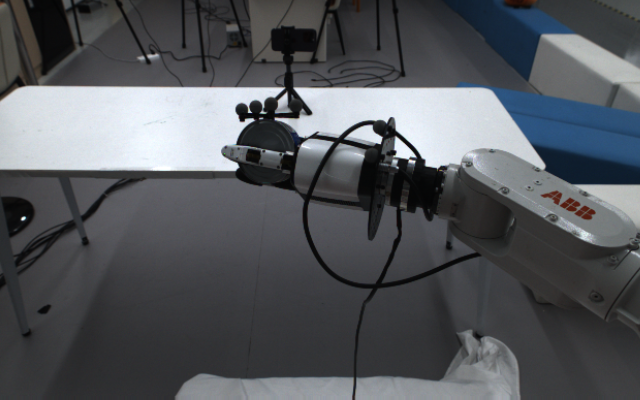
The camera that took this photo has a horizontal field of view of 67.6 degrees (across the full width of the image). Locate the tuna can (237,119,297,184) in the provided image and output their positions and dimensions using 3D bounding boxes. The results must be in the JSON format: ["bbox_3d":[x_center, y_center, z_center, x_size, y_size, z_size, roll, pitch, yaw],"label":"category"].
[{"bbox_3d":[-0.067,-0.065,0.651,0.085,0.085,0.034,15,10,18],"label":"tuna can"}]
